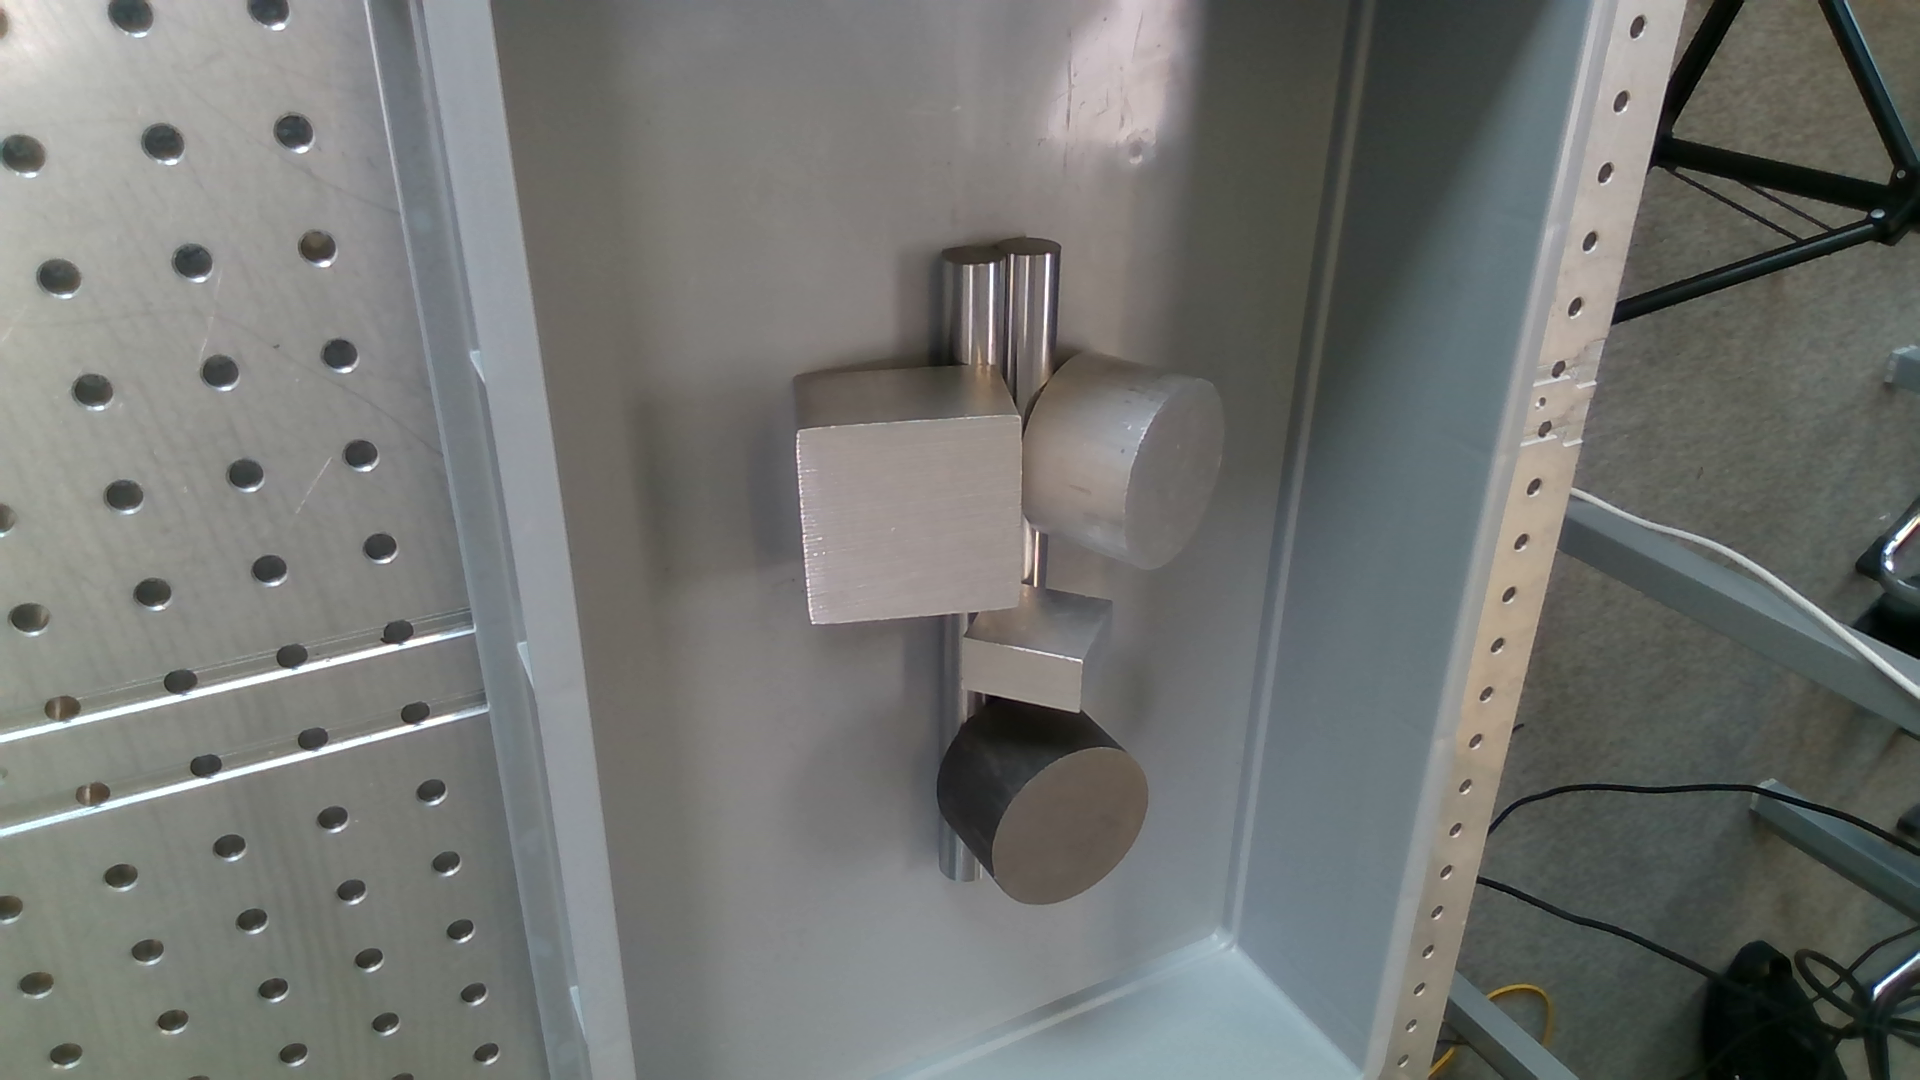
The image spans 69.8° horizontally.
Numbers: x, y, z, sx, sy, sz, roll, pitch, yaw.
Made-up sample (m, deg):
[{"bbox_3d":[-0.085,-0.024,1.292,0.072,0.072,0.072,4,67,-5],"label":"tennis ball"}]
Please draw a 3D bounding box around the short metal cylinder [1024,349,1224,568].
[{"bbox_3d":[0.067,-0.034,0.568,0.080,0.050,0.080,-32,132,-44],"label":"short metal cylinder"}]

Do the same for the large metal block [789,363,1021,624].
[{"bbox_3d":[-0.021,-0.019,0.523,0.080,0.050,0.080,-5,119,-7],"label":"large metal block"}]

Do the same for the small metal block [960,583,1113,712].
[{"bbox_3d":[0.032,0.042,0.570,0.050,0.050,0.025,-53,149,-56],"label":"small metal block"}]

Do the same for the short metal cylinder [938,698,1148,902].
[{"bbox_3d":[0.036,0.113,0.616,0.080,0.050,0.080,-14,122,-25],"label":"short metal cylinder"}]

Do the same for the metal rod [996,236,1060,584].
[{"bbox_3d":[0.025,0.018,0.605,0.025,0.025,0.301,-14,121,-25],"label":"metal rod"}]

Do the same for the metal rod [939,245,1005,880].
[{"bbox_3d":[0.003,0.023,0.595,0.025,0.025,0.301,-14,121,-25],"label":"metal rod"}]
